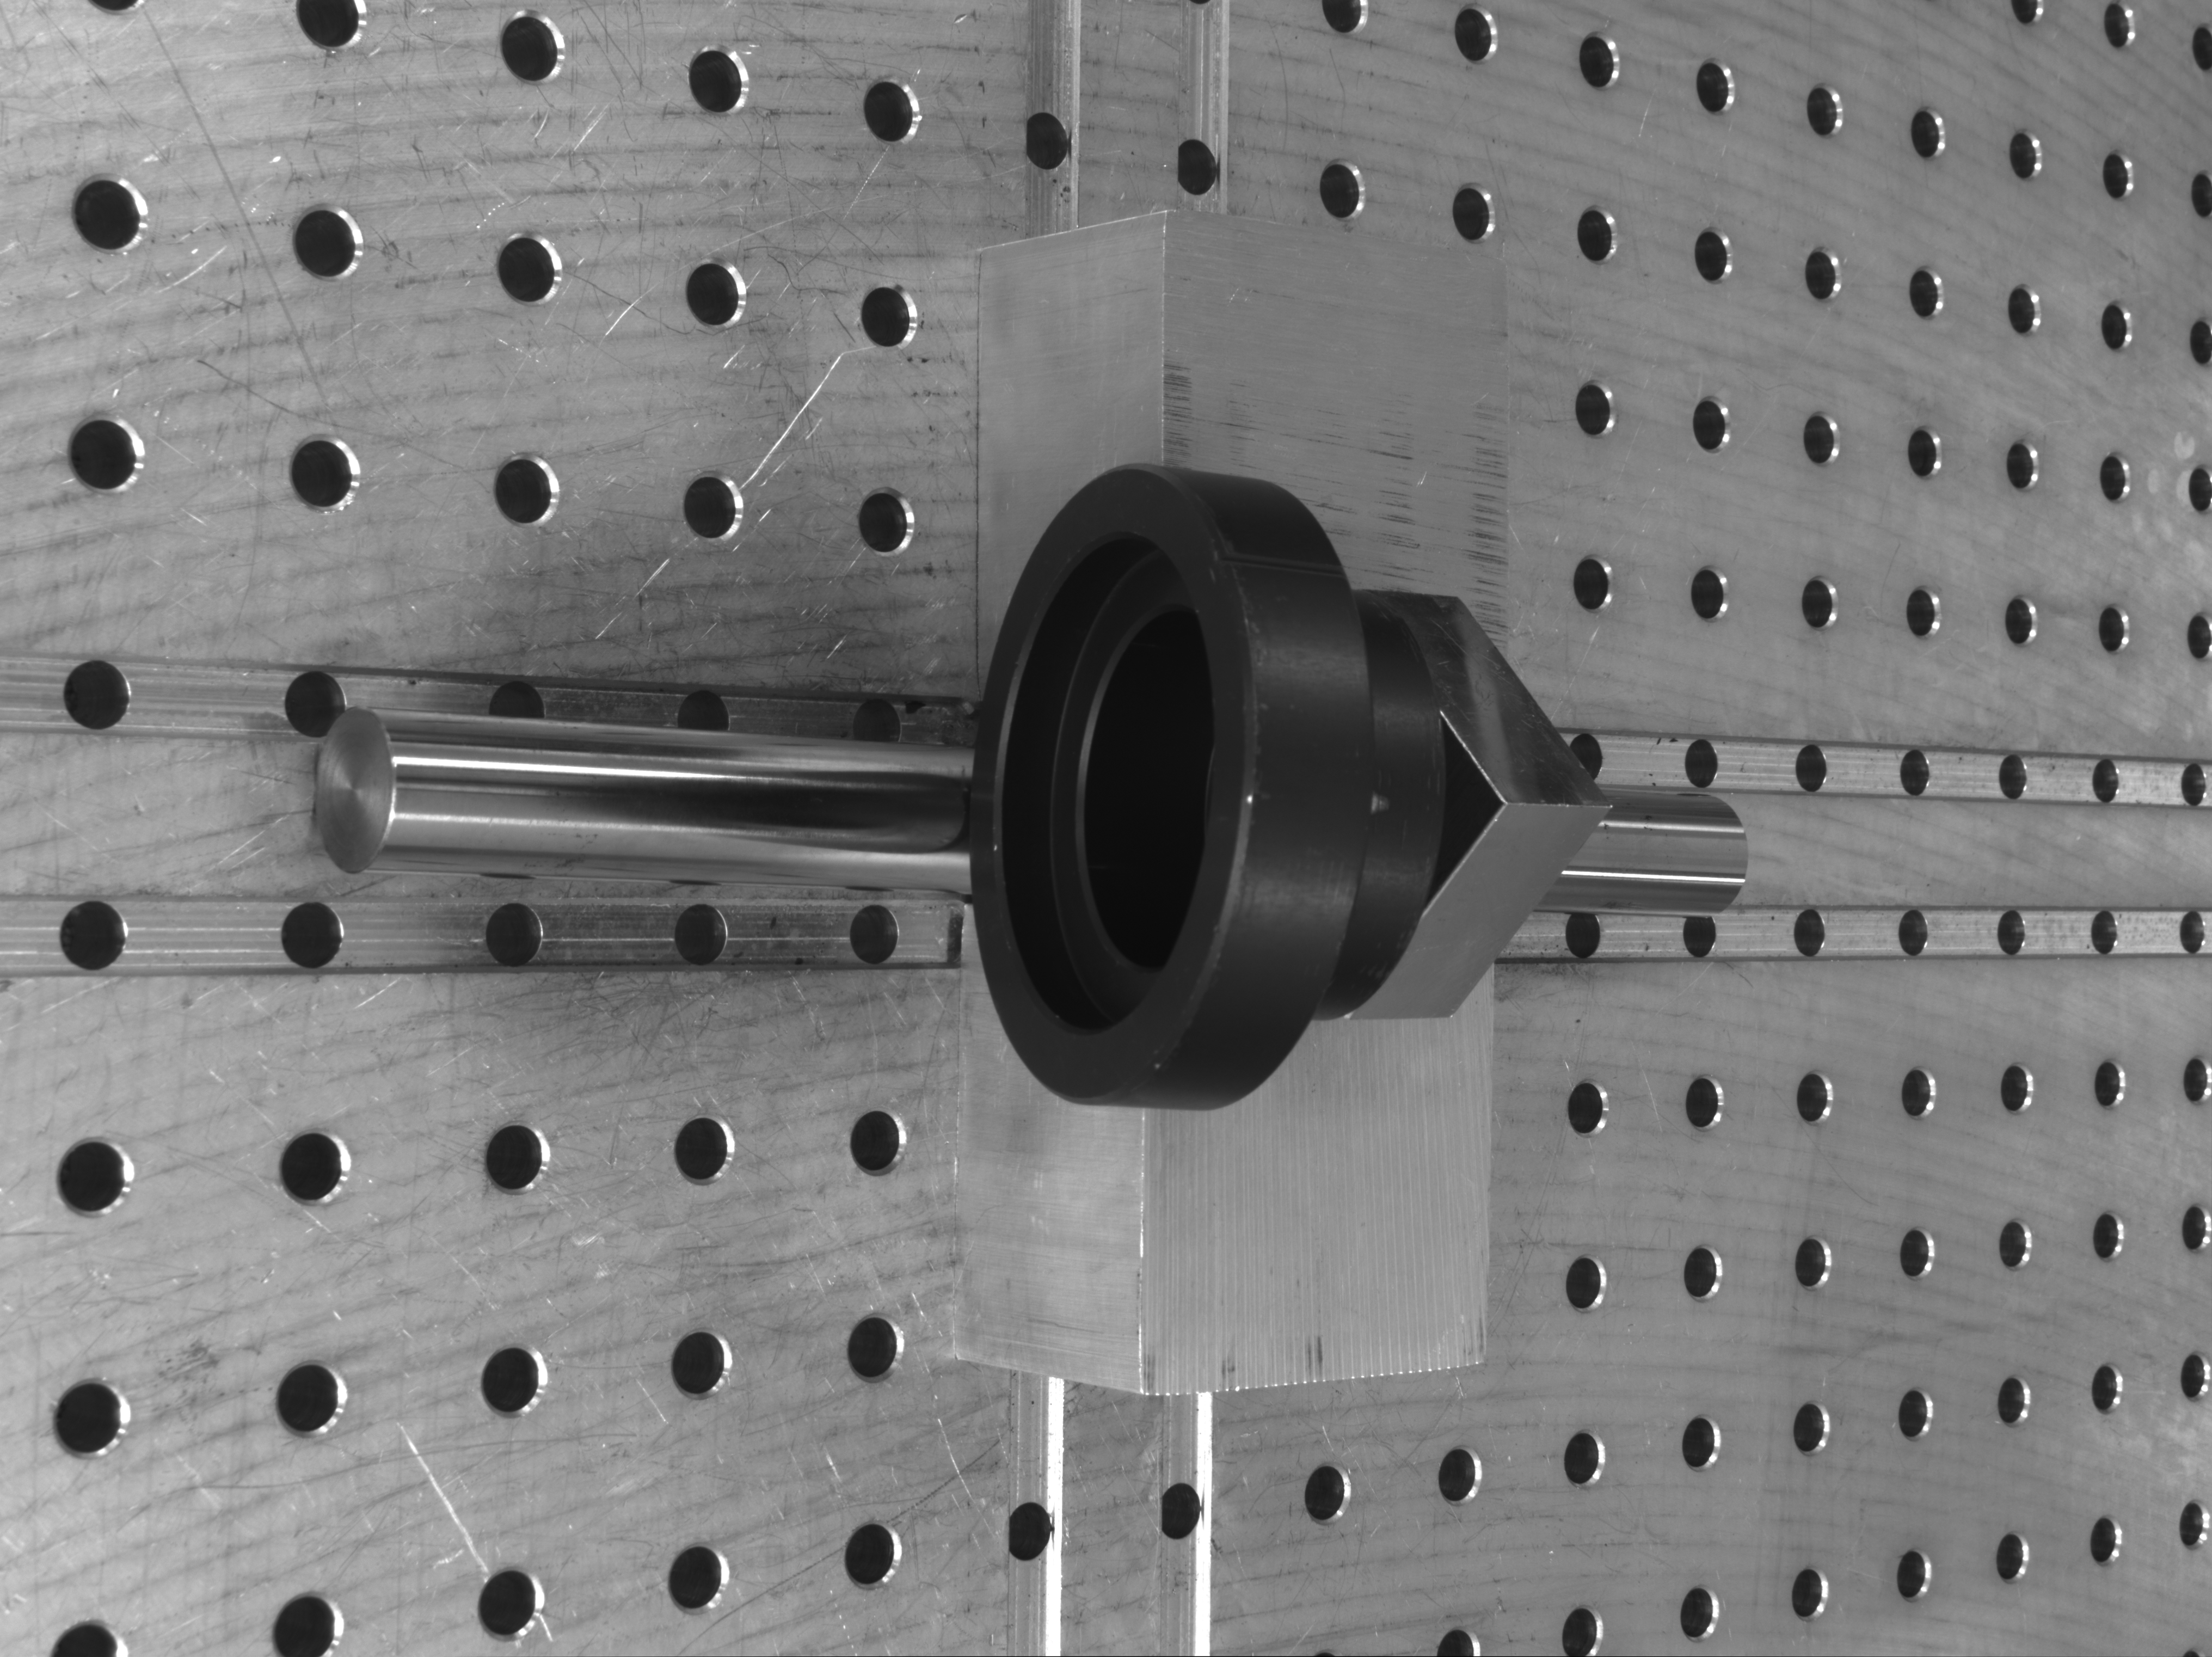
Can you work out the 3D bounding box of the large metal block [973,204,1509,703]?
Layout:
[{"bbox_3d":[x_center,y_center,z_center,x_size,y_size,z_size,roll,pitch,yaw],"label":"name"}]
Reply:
[{"bbox_3d":[0.024,-0.061,0.643,0.080,0.050,0.080,1,89,-40],"label":"large metal block"}]

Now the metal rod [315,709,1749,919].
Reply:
[{"bbox_3d":[0.004,0.000,0.642,0.301,0.025,0.025,3,88,-40],"label":"metal rod"}]

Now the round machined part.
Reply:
[{"bbox_3d":[0.018,-0.005,0.570,0.042,0.098,0.098,5,87,-25],"label":"round machined part"}]

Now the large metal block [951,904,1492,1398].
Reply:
[{"bbox_3d":[0.021,0.053,0.641,0.080,0.050,0.080,2,89,-40],"label":"large metal block"}]

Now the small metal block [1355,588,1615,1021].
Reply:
[{"bbox_3d":[0.049,-0.004,0.608,0.025,0.050,0.050,1,45,-40],"label":"small metal block"}]
